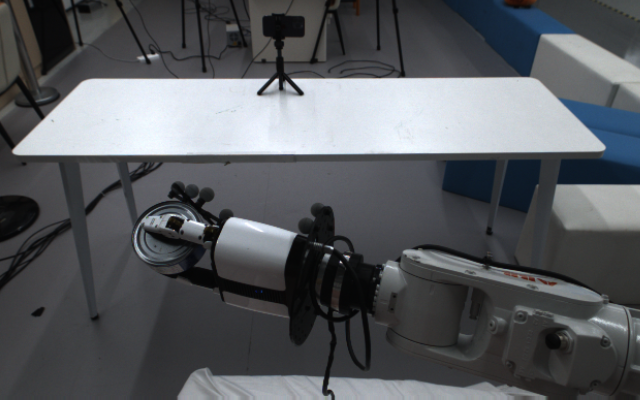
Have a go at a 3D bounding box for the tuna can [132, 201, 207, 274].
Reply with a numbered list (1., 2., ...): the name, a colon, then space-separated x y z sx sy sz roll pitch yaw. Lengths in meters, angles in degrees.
1. tuna can: -0.180 0.046 0.587 0.085 0.034 0.085 -2 59 3
